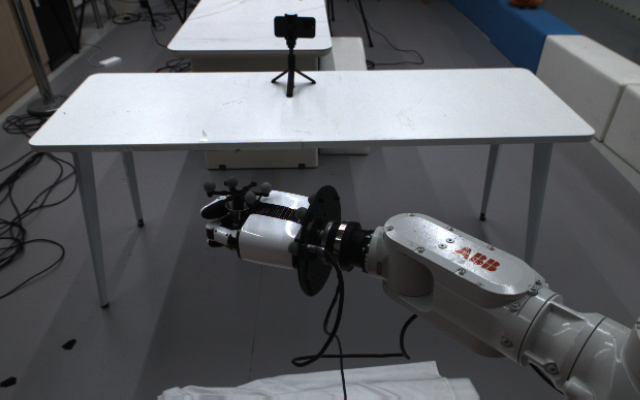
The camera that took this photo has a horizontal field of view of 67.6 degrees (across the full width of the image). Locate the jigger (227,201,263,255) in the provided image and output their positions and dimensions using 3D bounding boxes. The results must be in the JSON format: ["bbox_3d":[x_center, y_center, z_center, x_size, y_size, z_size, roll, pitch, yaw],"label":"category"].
[{"bbox_3d":[-0.118,0.035,0.730,0.043,0.071,0.043,3,25,-1],"label":"jigger"}]
